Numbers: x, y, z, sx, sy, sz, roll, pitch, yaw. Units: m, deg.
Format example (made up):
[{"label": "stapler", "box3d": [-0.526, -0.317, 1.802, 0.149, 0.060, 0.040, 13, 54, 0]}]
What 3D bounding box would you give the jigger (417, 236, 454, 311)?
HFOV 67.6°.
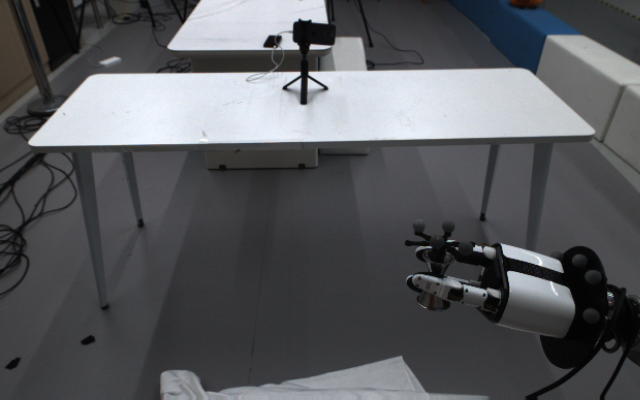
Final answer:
[{"label": "jigger", "box3d": [0.150, 0.101, 0.635, 0.043, 0.071, 0.043, 1, 20, 0]}]
